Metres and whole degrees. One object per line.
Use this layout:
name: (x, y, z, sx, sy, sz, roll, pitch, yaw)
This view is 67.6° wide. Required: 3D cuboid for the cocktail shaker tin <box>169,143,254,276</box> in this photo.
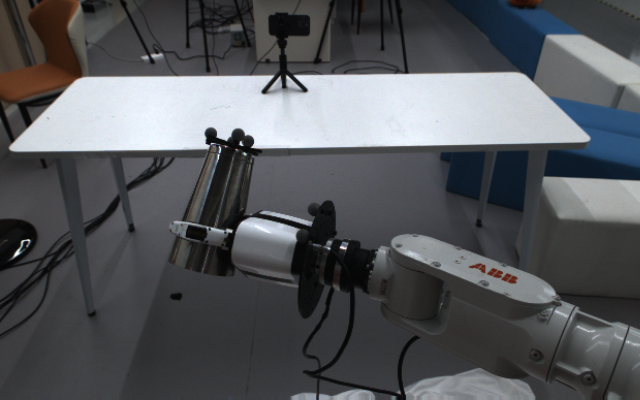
cocktail shaker tin: (-0.145, 0.014, 0.679, 0.093, 0.170, 0.093, 14, -4, 1)
